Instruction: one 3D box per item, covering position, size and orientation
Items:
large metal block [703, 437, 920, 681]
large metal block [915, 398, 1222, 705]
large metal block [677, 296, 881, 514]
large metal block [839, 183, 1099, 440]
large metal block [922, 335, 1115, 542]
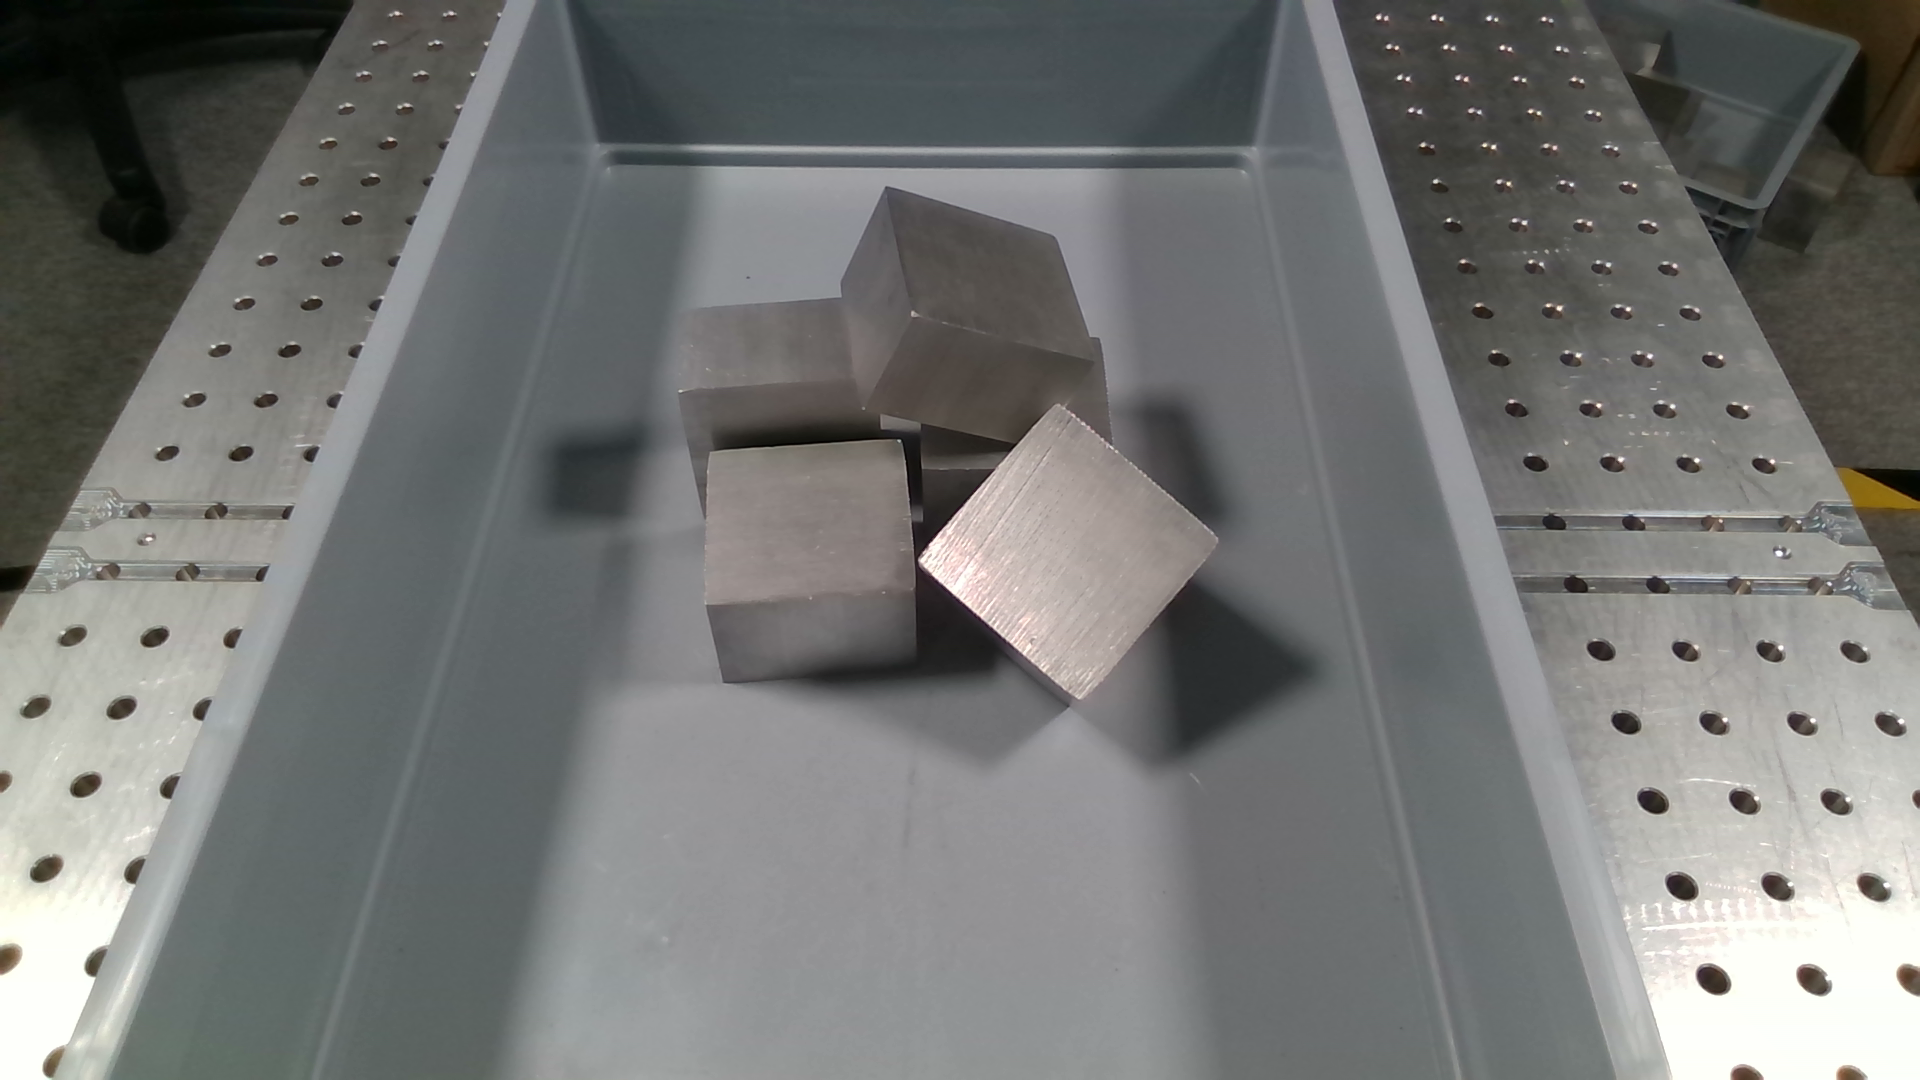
[{"bbox_3d":[-0.060,0.007,0.561,0.080,0.050,0.080,-4,50,-4],"label":"large metal block"},{"bbox_3d":[0.040,0.007,0.530,0.080,0.050,0.080,41,83,5],"label":"large metal block"},{"bbox_3d":[-0.076,-0.056,0.597,0.080,0.080,0.050,-5,50,-4],"label":"large metal block"},{"bbox_3d":[0.001,-0.091,0.560,0.080,0.050,0.080,10,45,-25],"label":"large metal block"},{"bbox_3d":[0.024,-0.044,0.606,0.080,0.050,0.080,-1,50,-1],"label":"large metal block"}]
